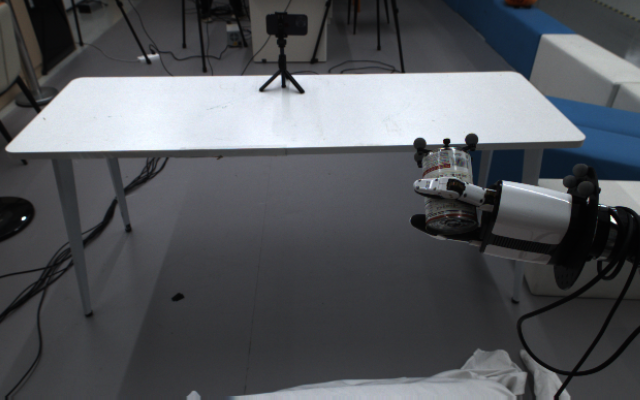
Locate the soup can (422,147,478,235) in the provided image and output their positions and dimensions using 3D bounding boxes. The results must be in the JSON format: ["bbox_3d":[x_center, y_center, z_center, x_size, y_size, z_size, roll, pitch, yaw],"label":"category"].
[{"bbox_3d":[0.175,-0.012,0.653,0.067,0.067,0.101,2,68,0],"label":"soup can"}]
